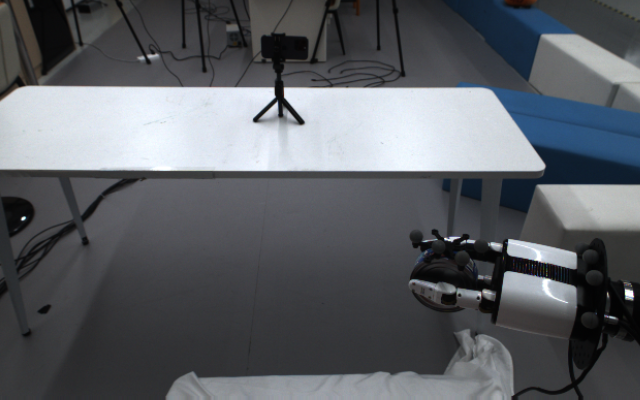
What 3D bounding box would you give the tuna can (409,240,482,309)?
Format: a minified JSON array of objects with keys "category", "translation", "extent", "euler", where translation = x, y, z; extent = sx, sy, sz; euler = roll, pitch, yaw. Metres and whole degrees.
[{"category":"tuna can","translation":[0.166,0.100,0.637],"extent":[0.085,0.085,0.034],"euler":[13,30,15]}]
